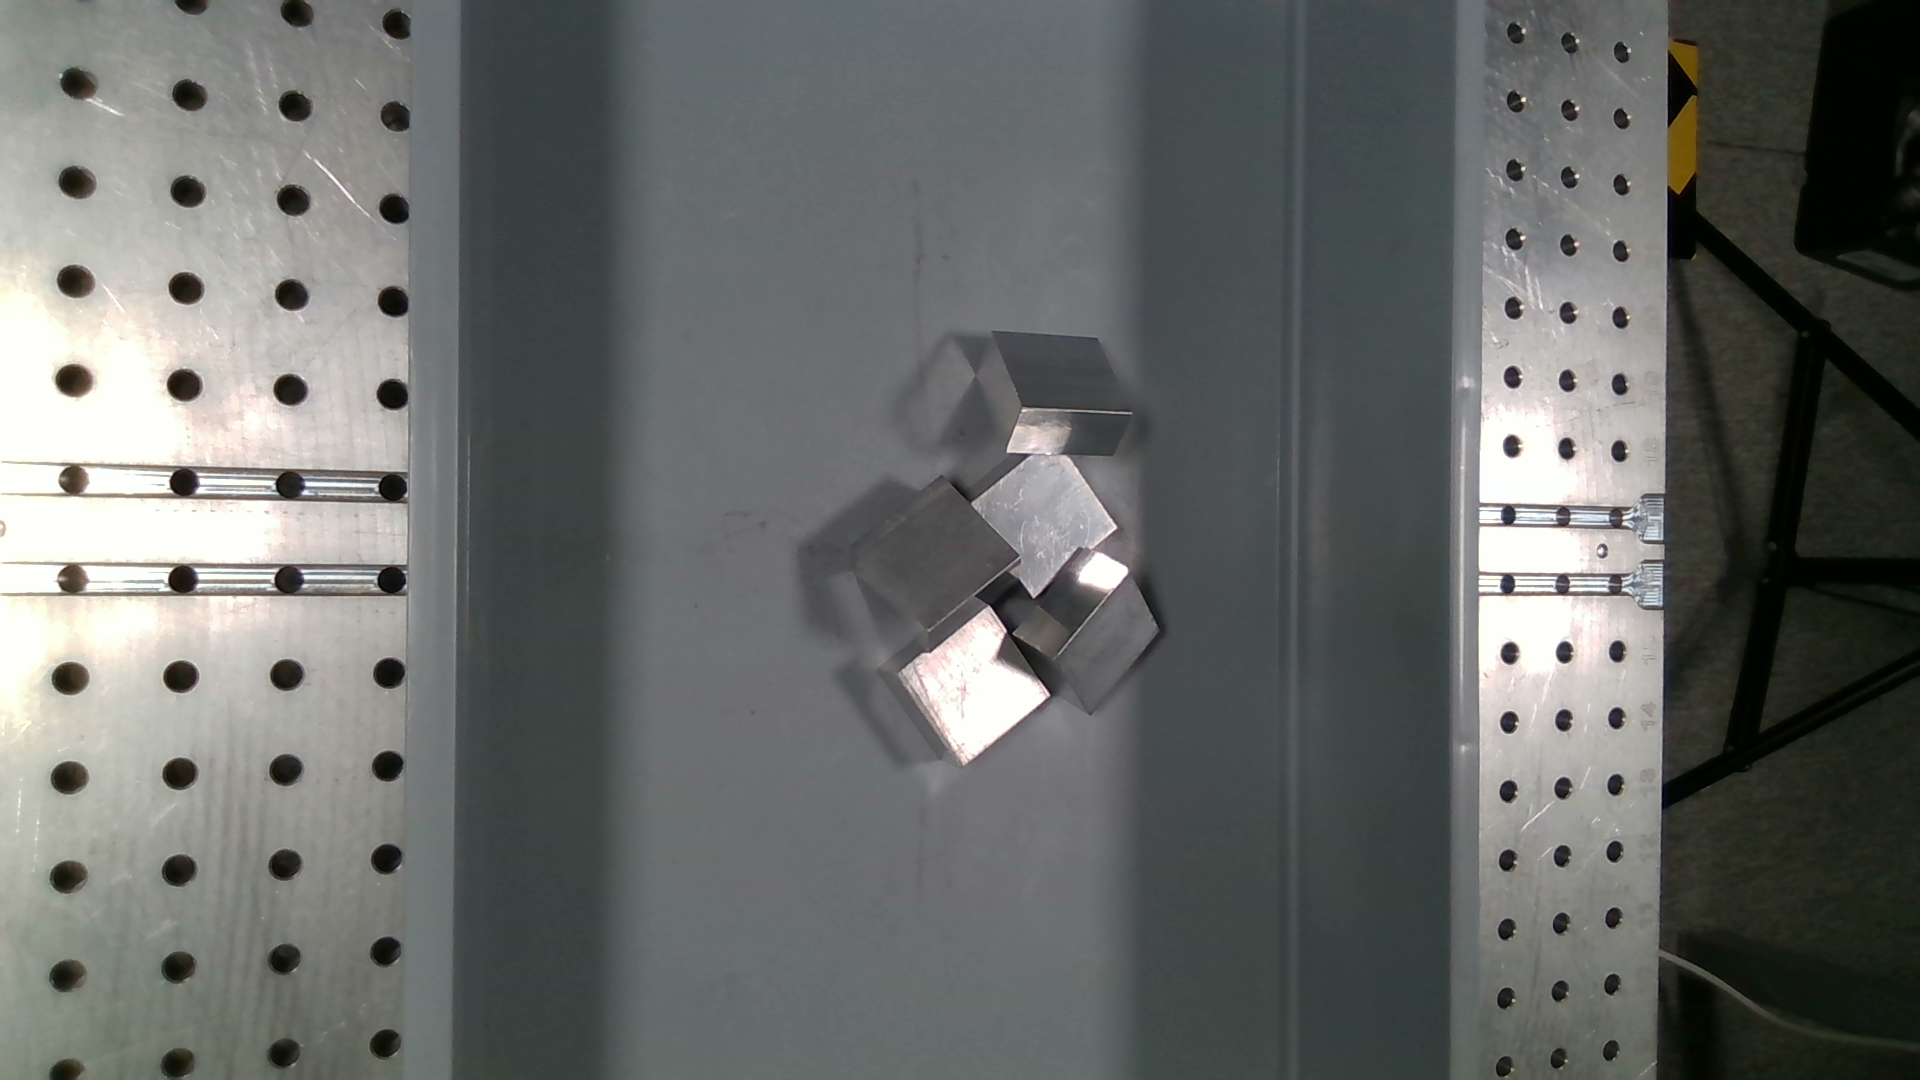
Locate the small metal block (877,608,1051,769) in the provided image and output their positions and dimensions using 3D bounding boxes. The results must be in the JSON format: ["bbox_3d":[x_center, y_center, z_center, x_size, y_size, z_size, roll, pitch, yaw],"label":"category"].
[{"bbox_3d":[0.002,0.060,0.585,0.050,0.025,0.050,-38,102,-16],"label":"small metal block"}]

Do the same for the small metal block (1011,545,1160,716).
[{"bbox_3d":[0.055,0.039,0.593,0.050,0.025,0.050,-49,140,-13],"label":"small metal block"}]

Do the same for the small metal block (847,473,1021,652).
[{"bbox_3d":[-0.011,0.009,0.568,0.050,0.025,0.050,-39,71,-16],"label":"small metal block"}]

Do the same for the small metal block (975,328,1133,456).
[{"bbox_3d":[0.039,-0.063,0.584,0.050,0.025,0.050,1,46,-21],"label":"small metal block"}]

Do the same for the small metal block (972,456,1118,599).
[{"bbox_3d":[0.031,-0.010,0.596,0.050,0.025,0.050,-40,103,-16],"label":"small metal block"}]
